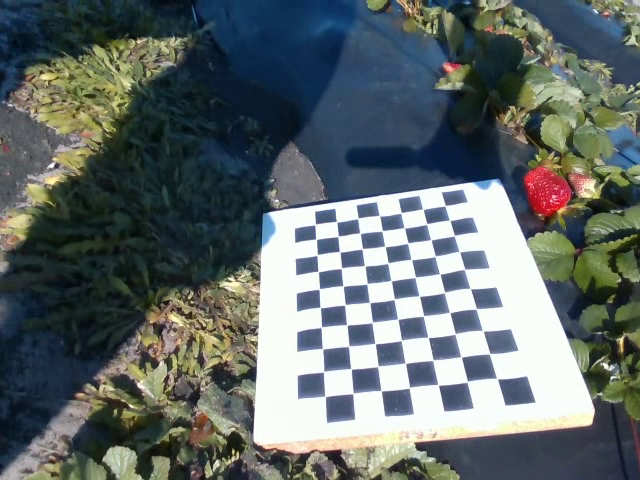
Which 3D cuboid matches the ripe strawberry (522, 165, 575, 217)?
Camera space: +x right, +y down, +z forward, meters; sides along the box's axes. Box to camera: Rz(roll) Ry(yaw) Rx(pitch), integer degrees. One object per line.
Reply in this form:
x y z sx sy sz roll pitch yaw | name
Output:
0.243 -0.051 0.671 0.065 0.062 0.058 -45 24 -27 | ripe strawberry
